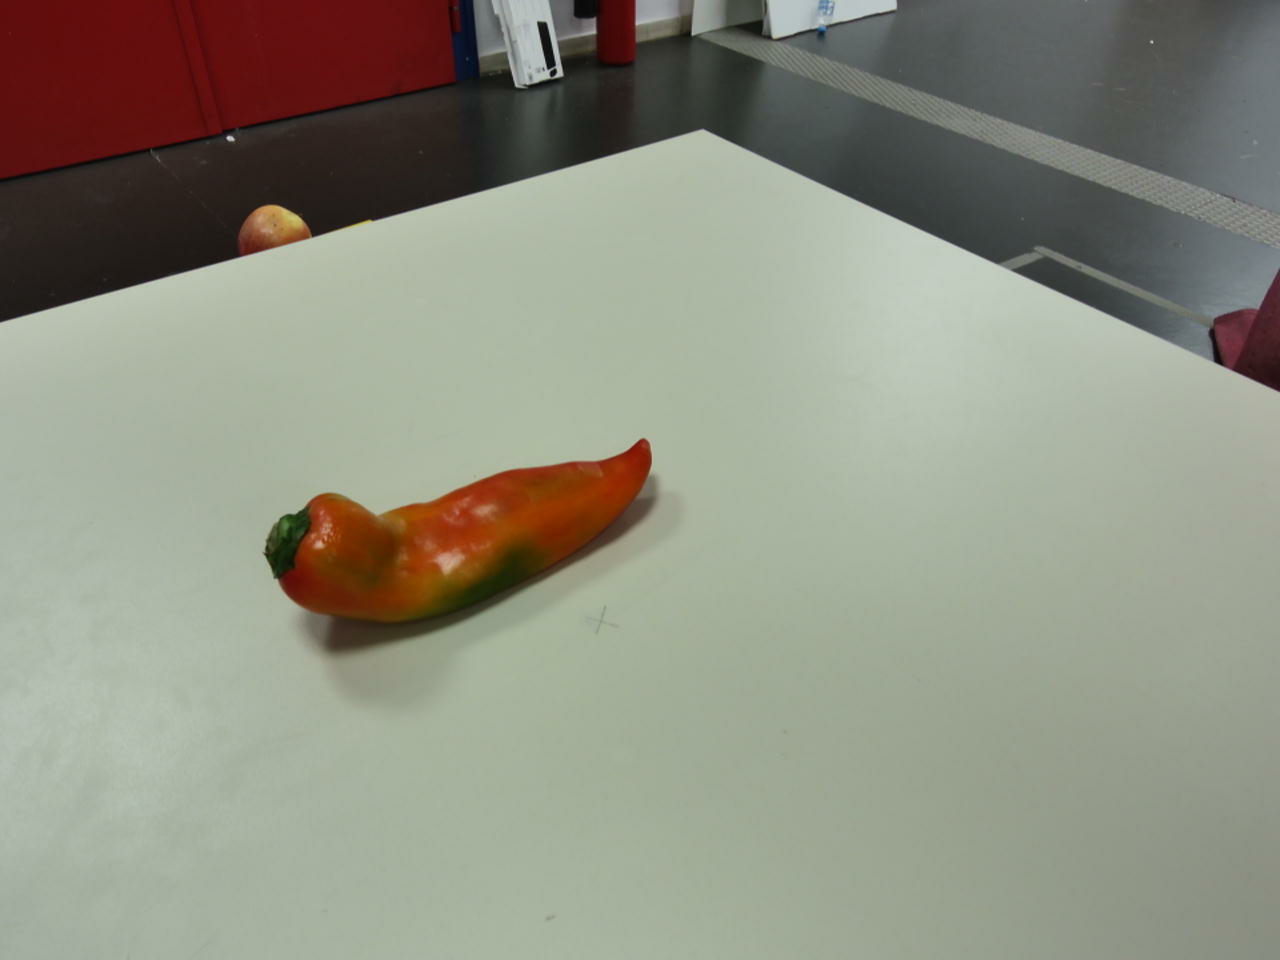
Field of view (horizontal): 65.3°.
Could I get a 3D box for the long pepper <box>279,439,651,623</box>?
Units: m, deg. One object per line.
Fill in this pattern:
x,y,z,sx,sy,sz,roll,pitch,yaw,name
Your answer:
-0.074,0.013,0.482,0.199,0.065,0.066,-22,43,-25,long pepper
